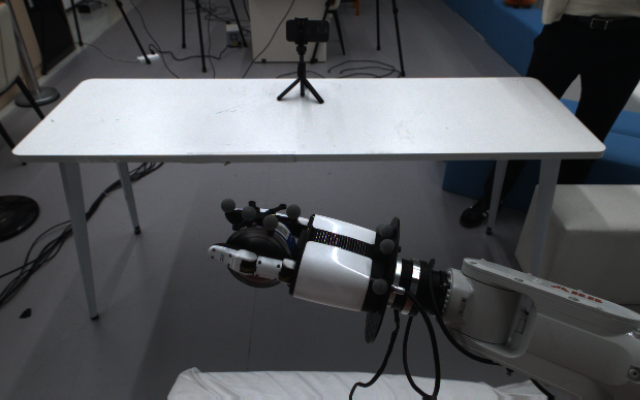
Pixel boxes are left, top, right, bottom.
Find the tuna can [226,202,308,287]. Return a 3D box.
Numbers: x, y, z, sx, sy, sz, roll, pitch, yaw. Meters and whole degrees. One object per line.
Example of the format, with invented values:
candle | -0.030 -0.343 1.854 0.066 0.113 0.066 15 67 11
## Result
tuna can | -0.071 0.065 0.599 0.085 0.085 0.034 6 22 6
